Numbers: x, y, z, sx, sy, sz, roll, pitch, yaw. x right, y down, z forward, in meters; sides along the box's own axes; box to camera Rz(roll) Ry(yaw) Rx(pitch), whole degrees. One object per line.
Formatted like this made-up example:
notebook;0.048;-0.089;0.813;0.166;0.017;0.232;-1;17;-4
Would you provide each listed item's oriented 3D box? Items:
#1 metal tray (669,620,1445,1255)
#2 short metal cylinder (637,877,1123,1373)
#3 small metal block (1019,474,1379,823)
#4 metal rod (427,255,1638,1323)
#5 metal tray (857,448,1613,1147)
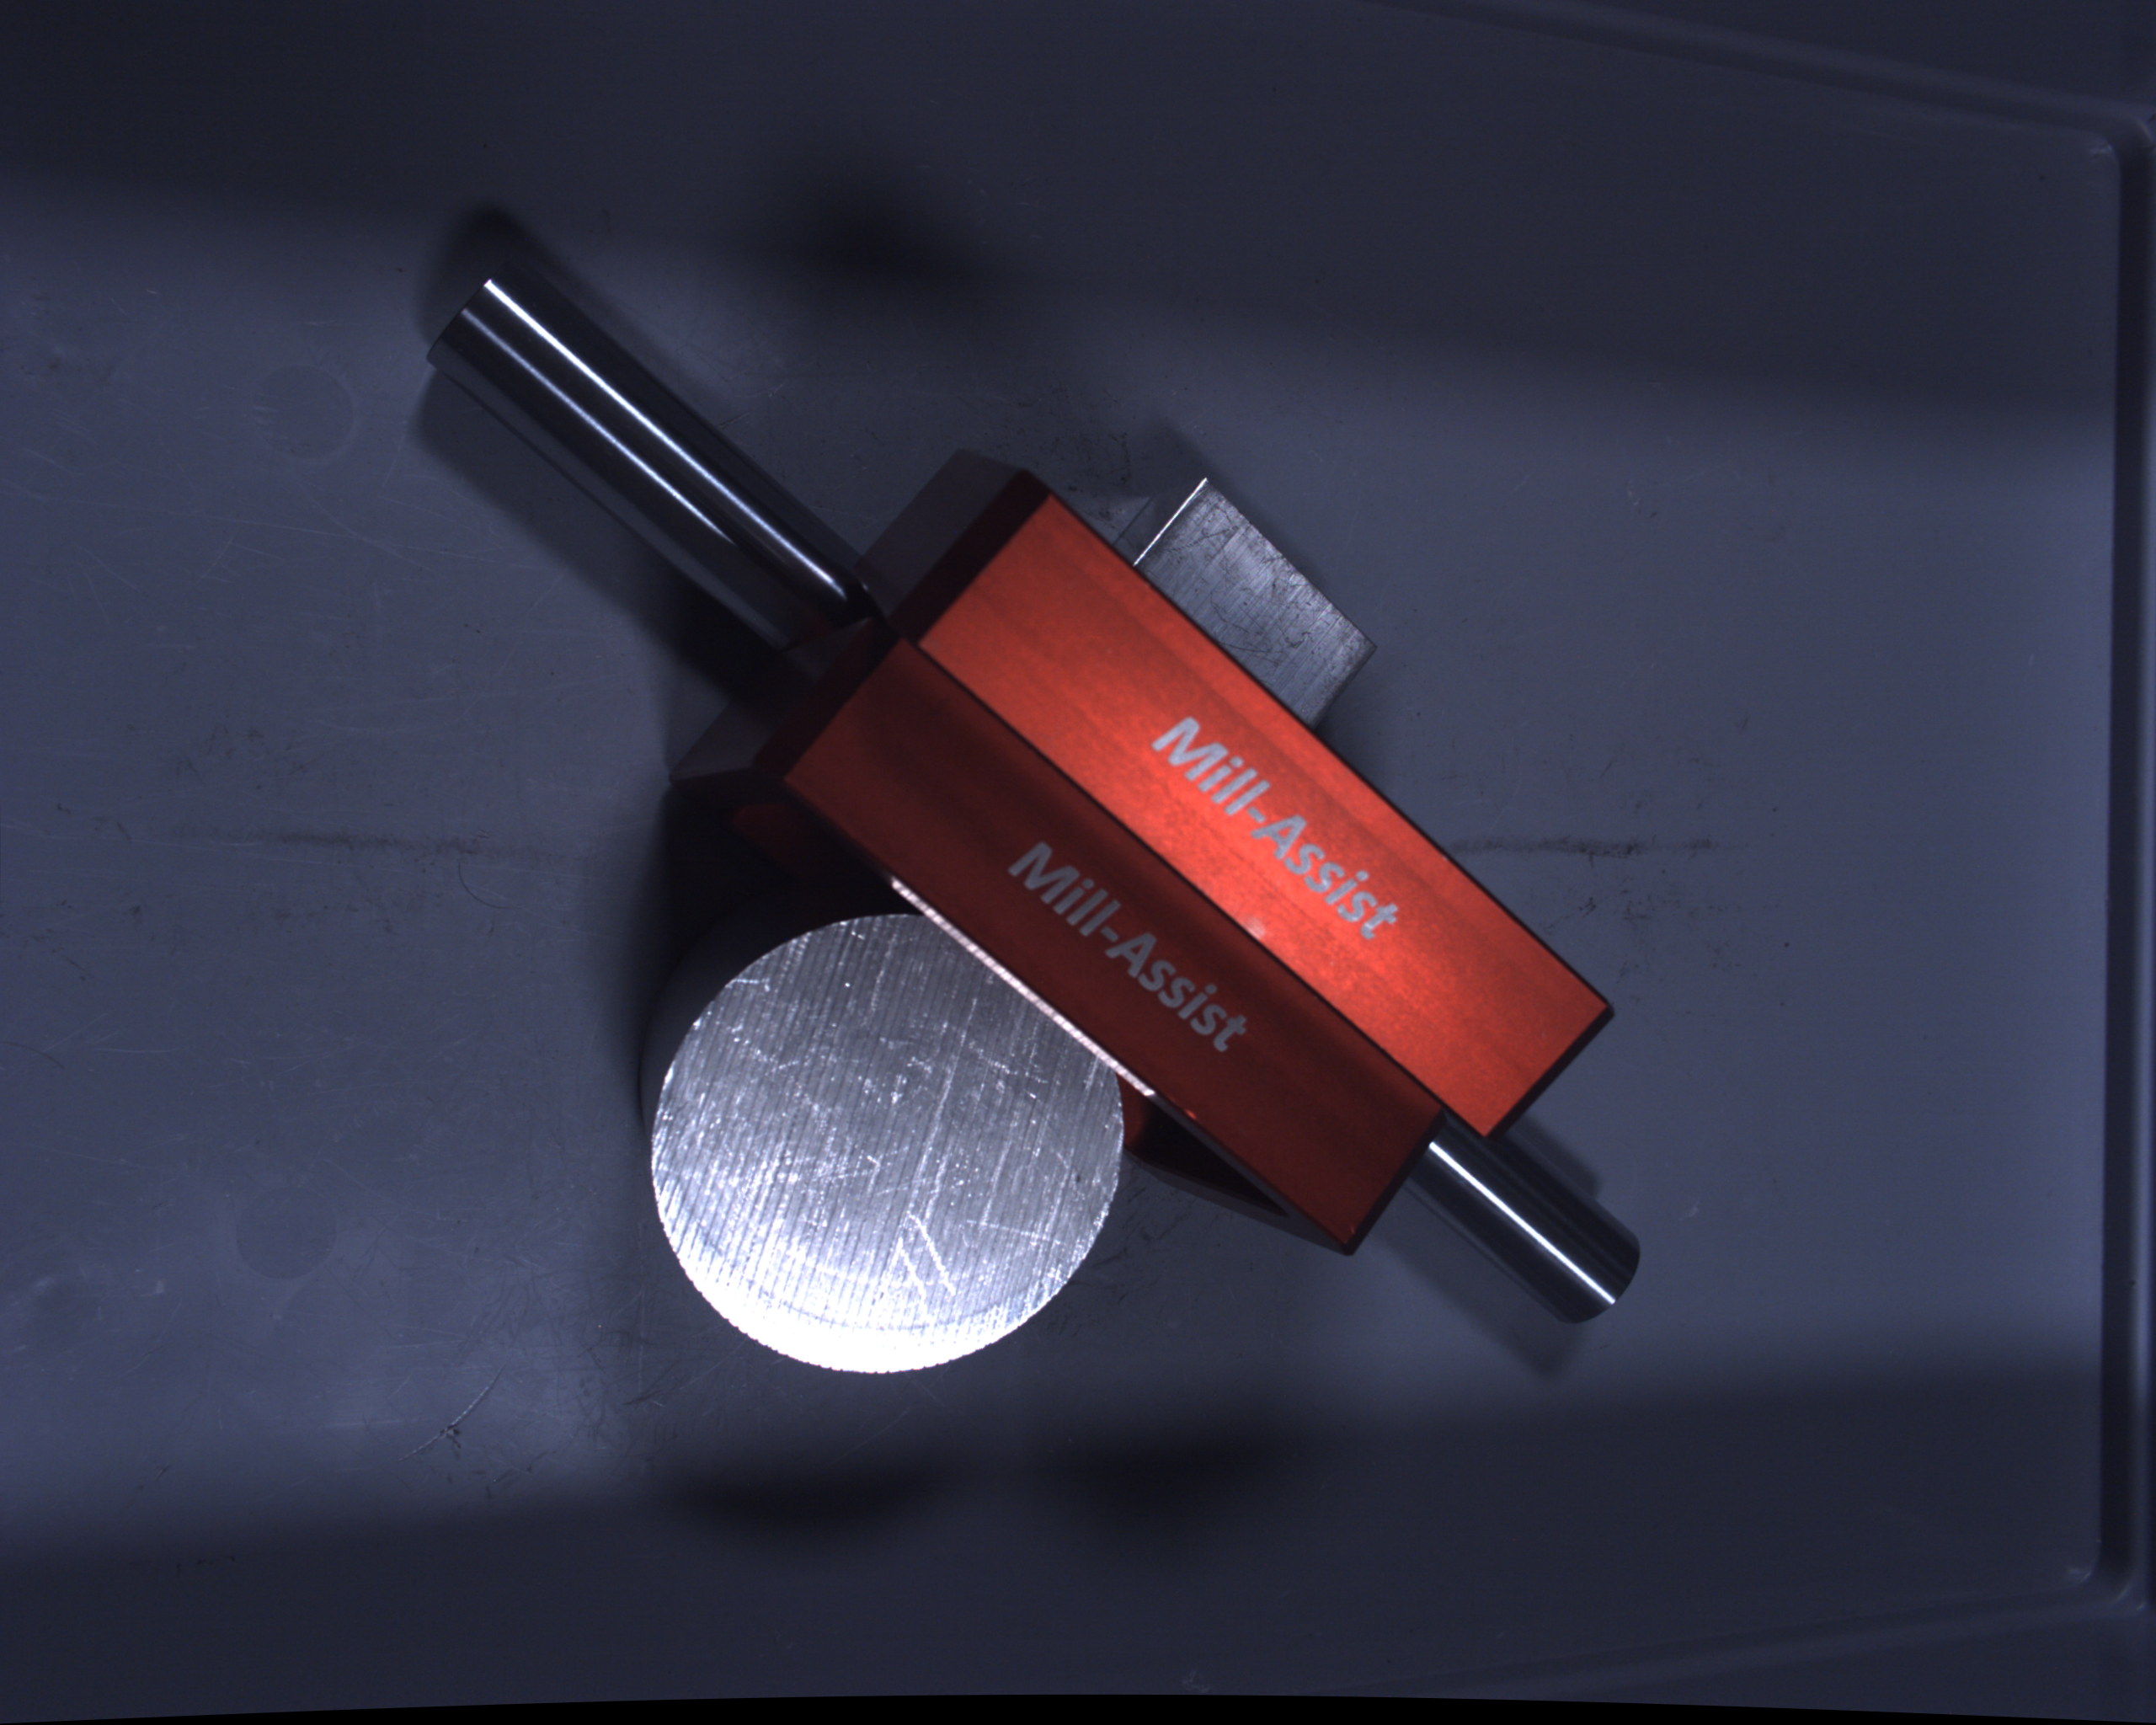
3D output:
metal tray;-0.007;0.014;0.373;0.130;0.090;0.030;41;77;-16
short metal cylinder;-0.037;0.045;0.377;0.081;0.050;0.079;-2;98;-15
small metal block;0.023;-0.041;0.418;0.050;0.025;0.050;42;76;-16
metal rod;0.002;-0.005;0.412;0.300;0.025;0.025;41;77;-16
metal tray;0.023;-0.014;0.357;0.130;0.090;0.030;41;94;-16
